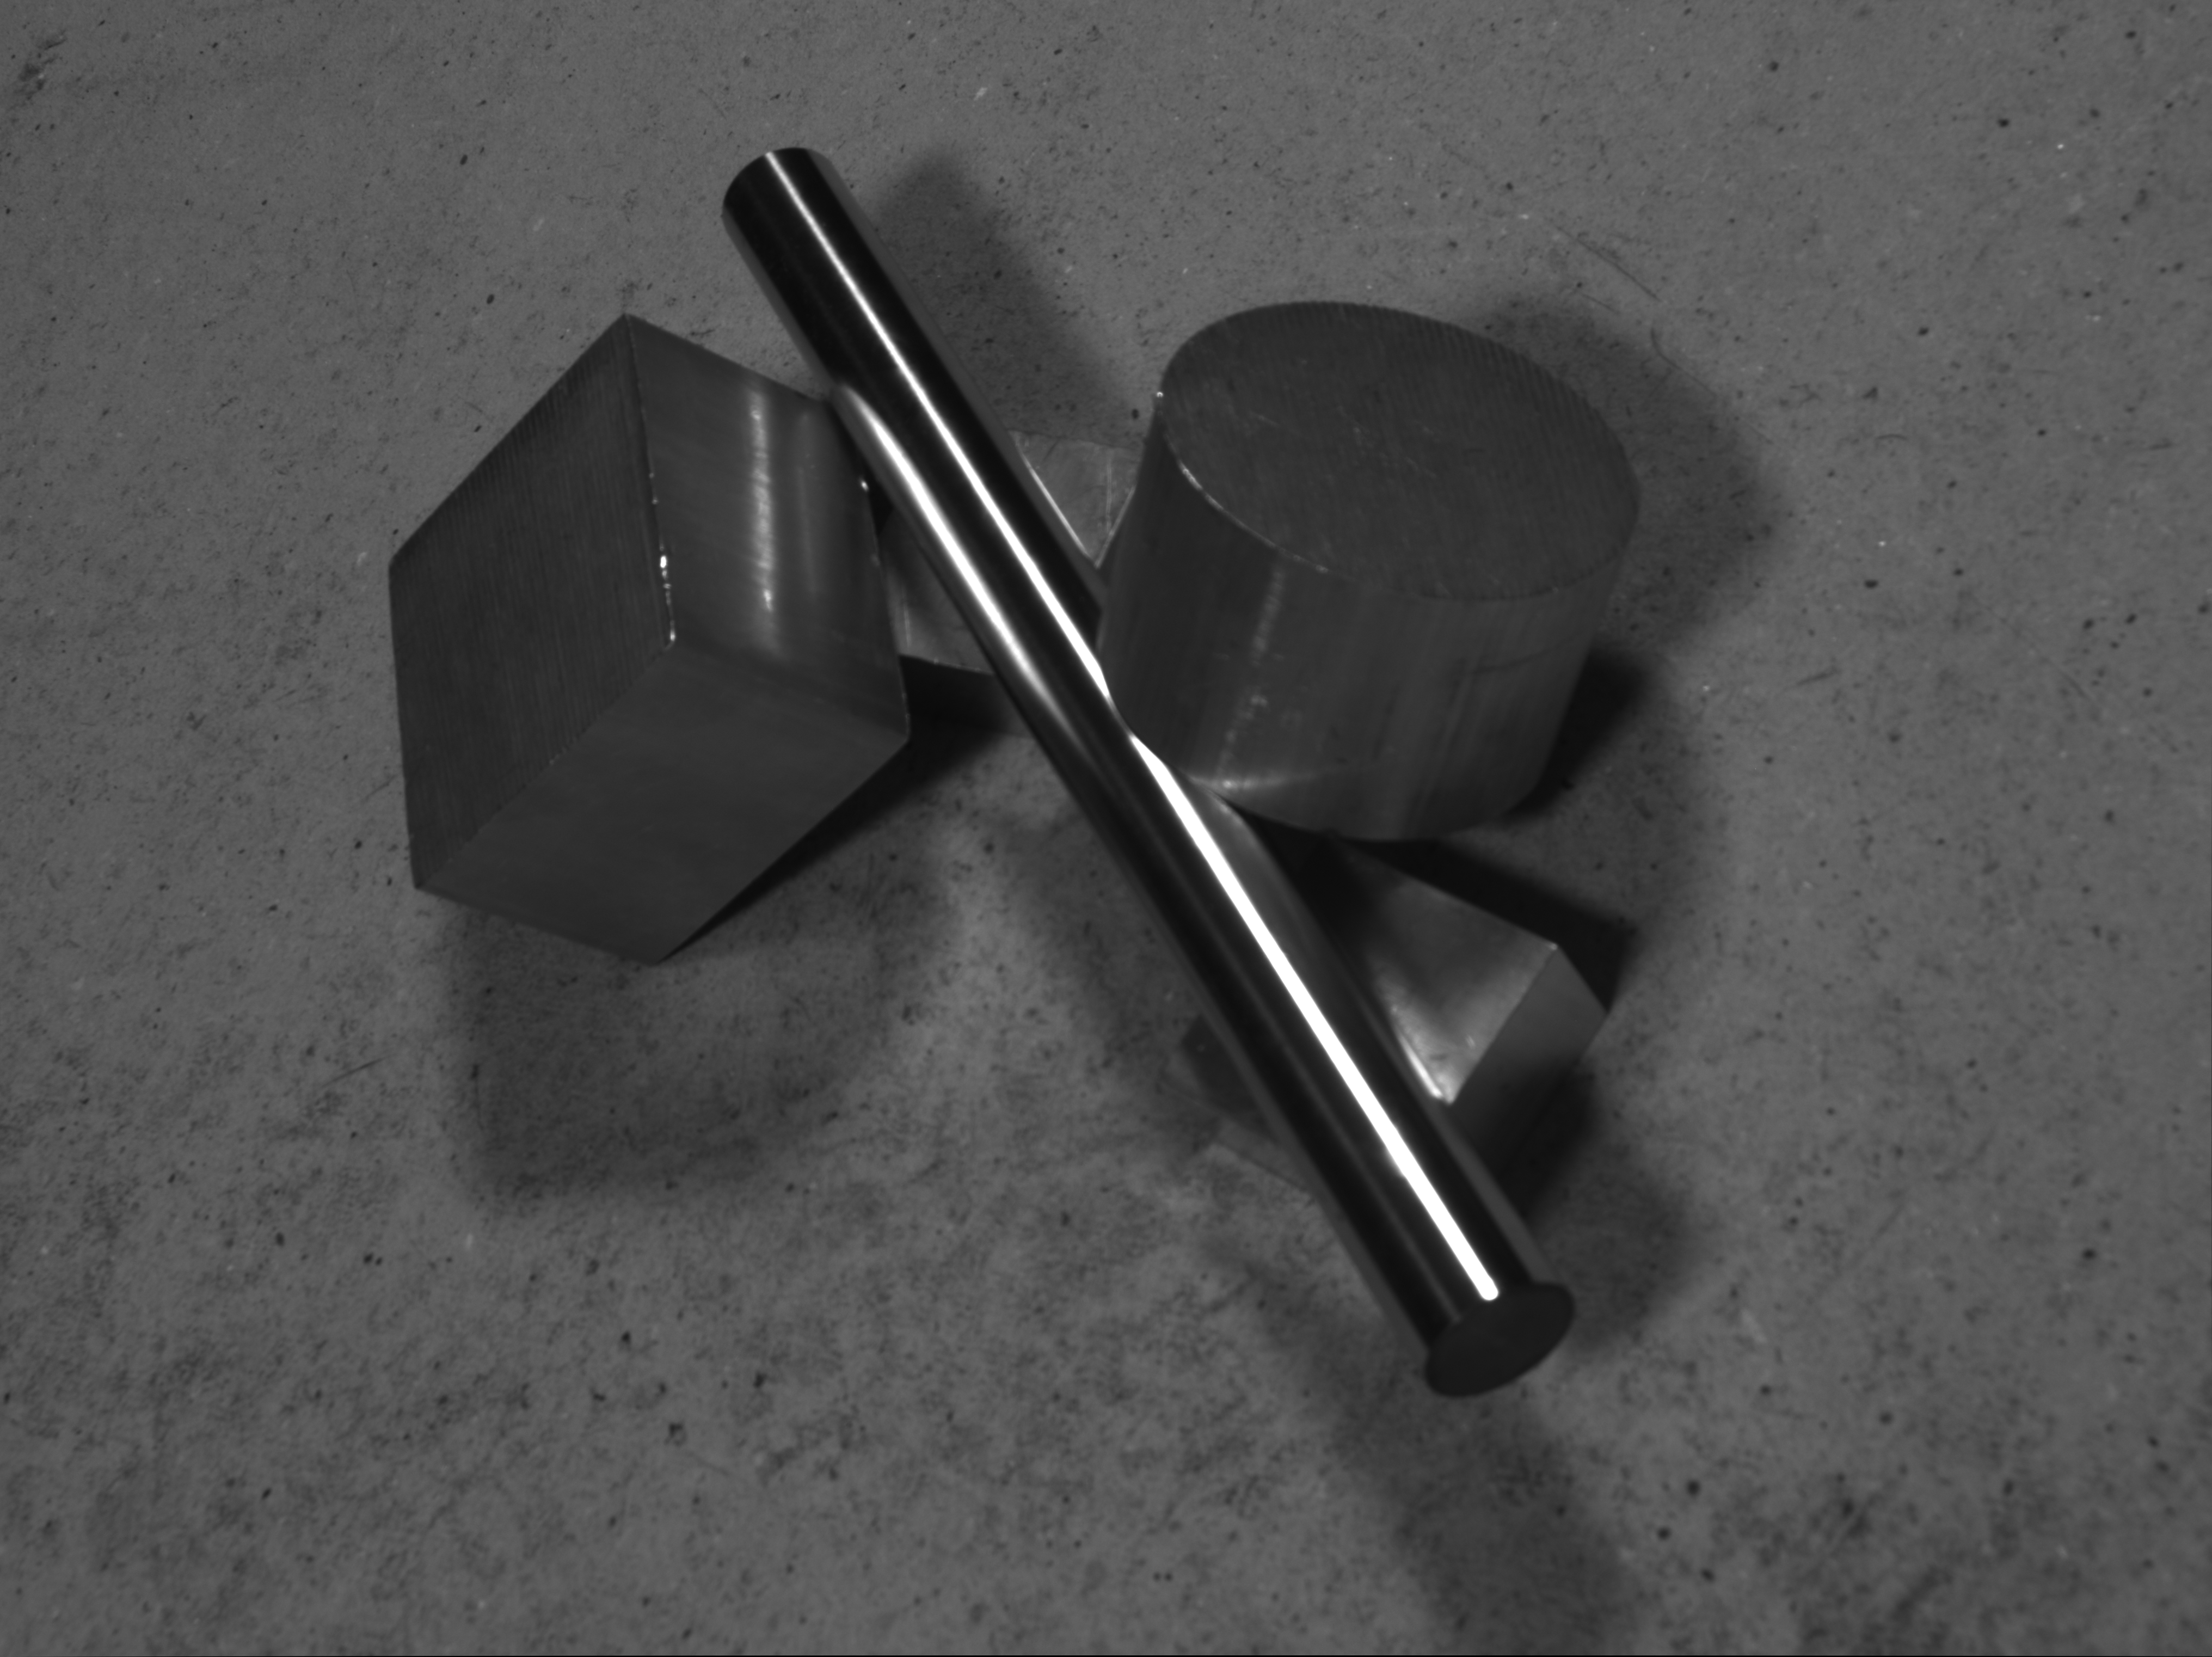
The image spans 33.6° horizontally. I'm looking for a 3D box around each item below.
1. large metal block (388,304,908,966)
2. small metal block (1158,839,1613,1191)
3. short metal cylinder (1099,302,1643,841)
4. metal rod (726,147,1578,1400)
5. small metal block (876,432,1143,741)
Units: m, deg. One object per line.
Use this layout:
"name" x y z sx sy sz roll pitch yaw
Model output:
"large metal block" -0.087 -0.034 0.675 0.080 0.050 0.080 -39 47 32
"small metal block" 0.046 0.036 0.598 0.050 0.025 0.050 27 76 37
"short metal cylinder" 0.043 -0.043 0.606 0.080 0.050 0.080 9 40 -8
"metal rod" -0.003 -0.024 0.629 0.025 0.025 0.299 -35 51 5
"small metal block" -0.017 -0.045 0.682 0.050 0.025 0.050 13 68 34
